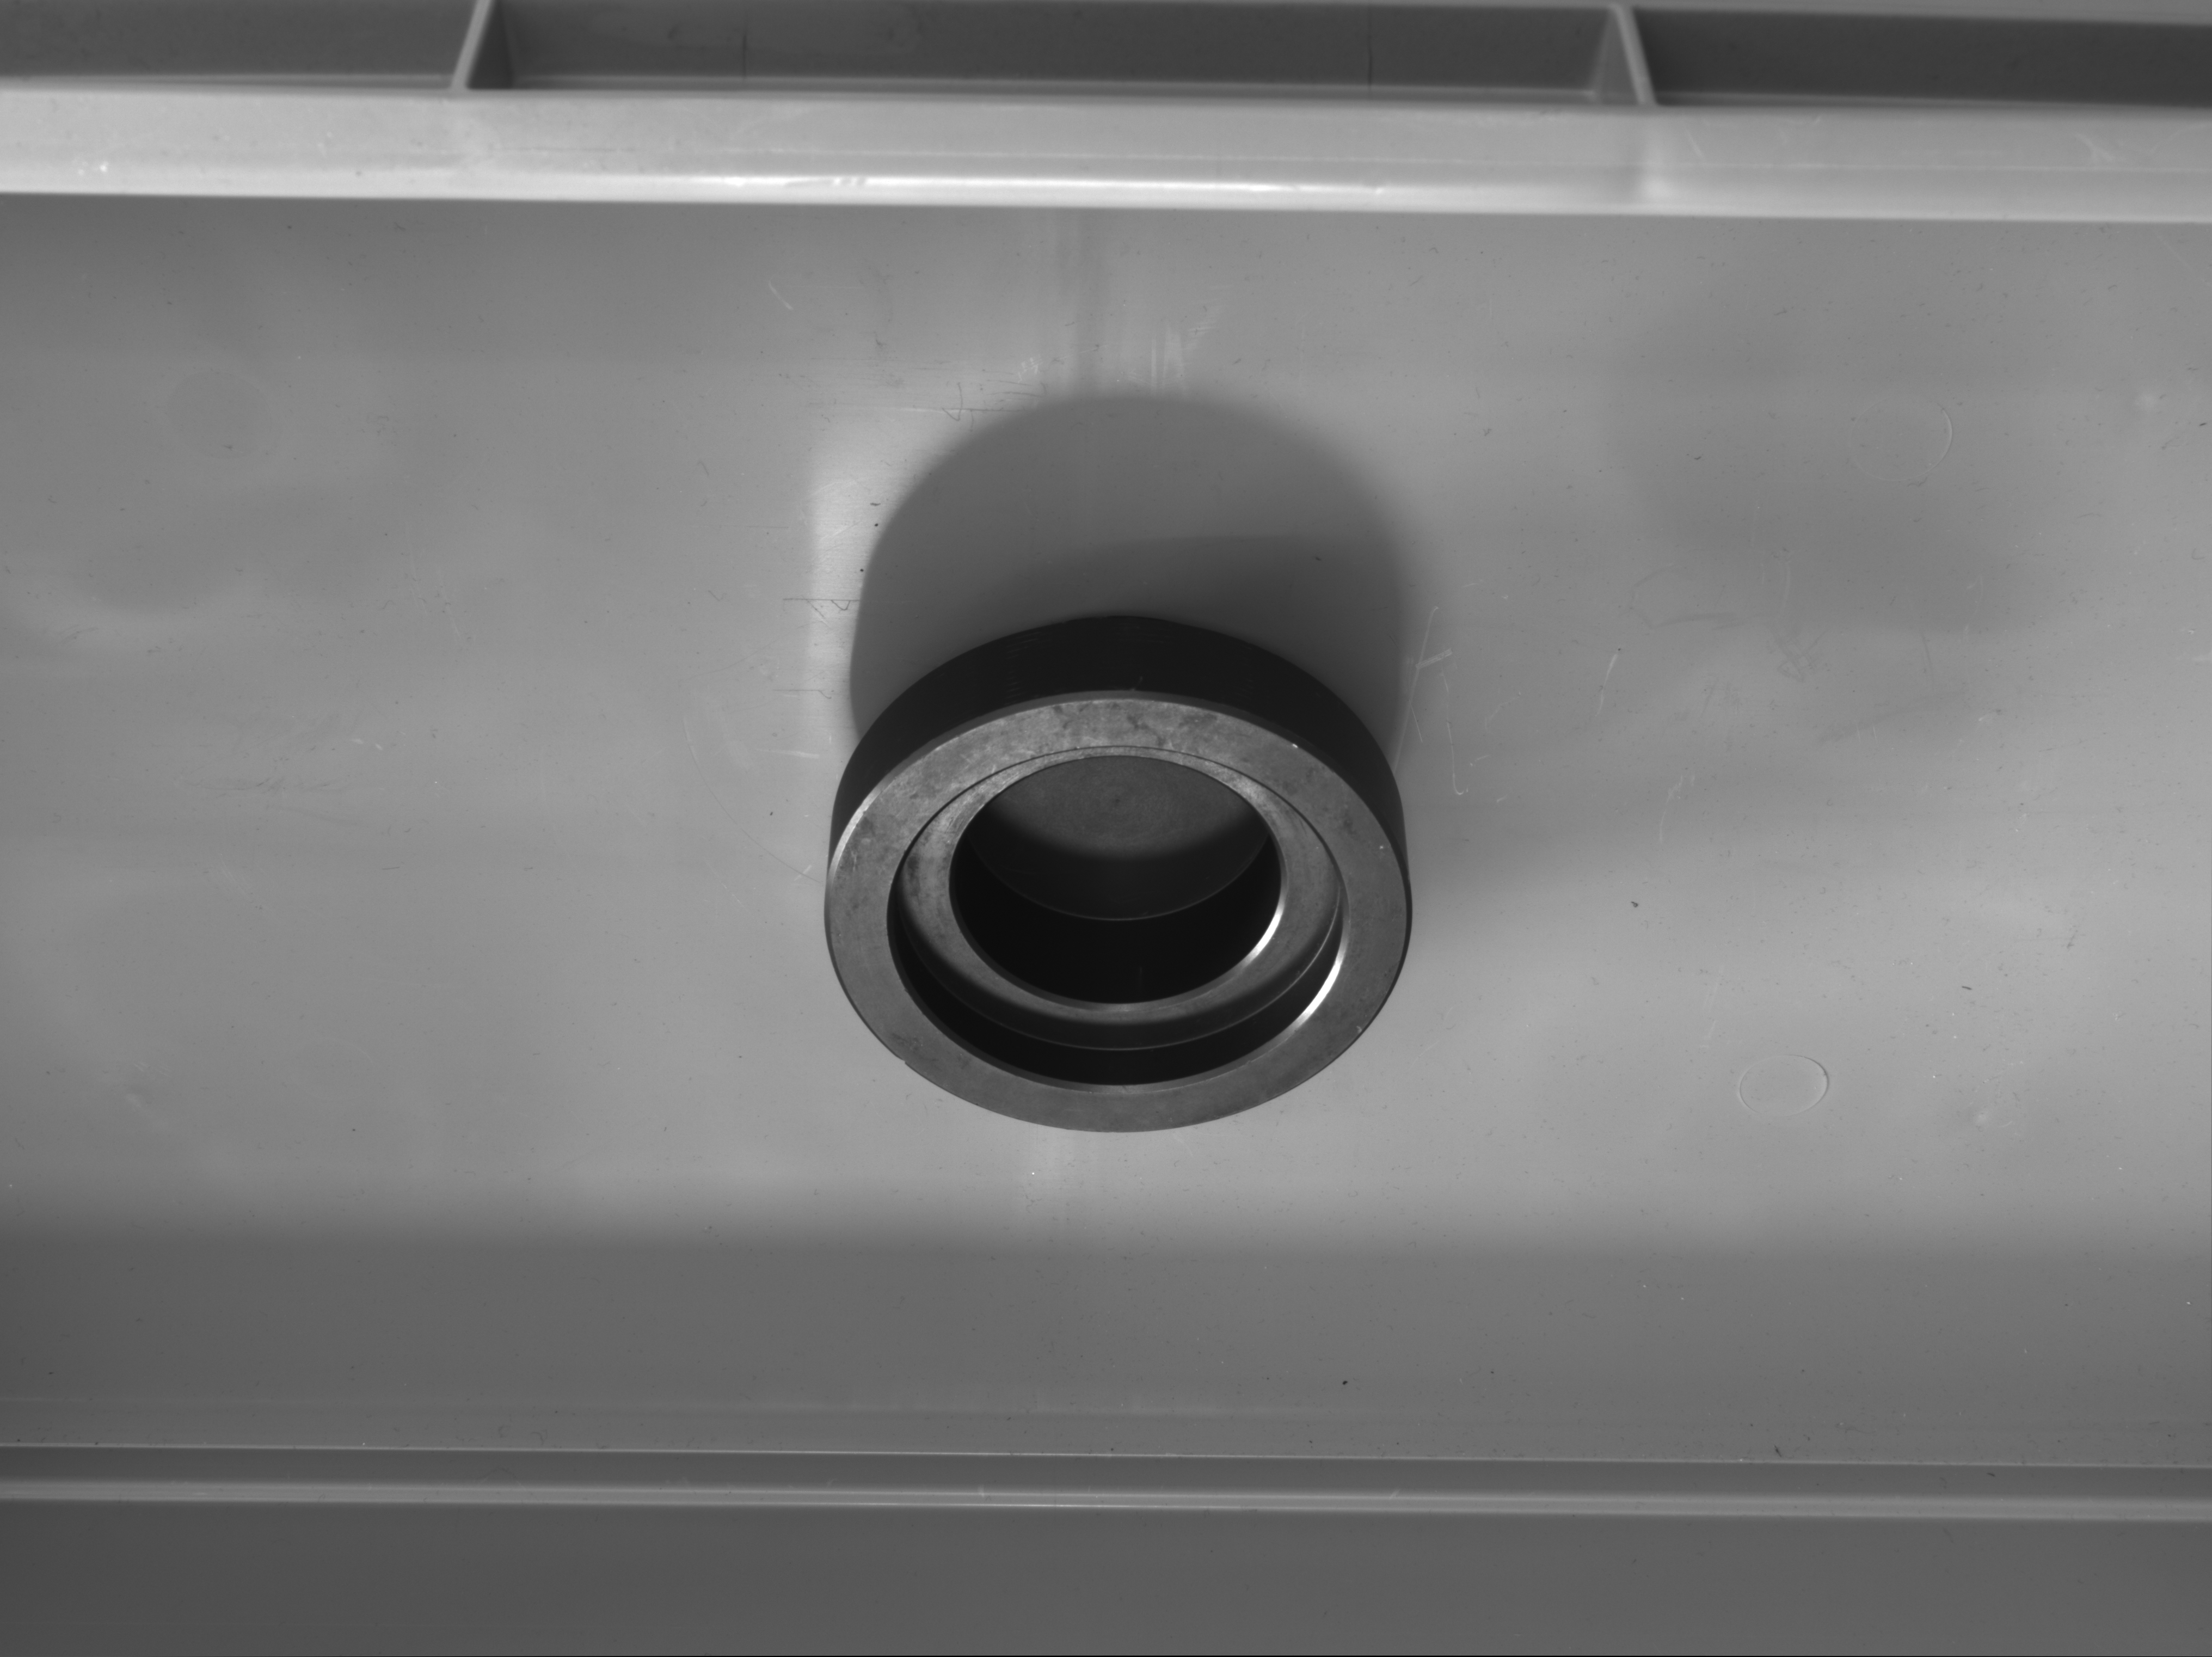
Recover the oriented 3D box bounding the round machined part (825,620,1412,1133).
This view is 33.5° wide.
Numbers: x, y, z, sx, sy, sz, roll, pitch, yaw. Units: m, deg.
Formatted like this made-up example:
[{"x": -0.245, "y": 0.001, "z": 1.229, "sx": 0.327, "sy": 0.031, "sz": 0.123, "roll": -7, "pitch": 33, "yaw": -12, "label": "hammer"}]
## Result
[{"x": 0.002, "y": 0.003, "z": 0.628, "sx": 0.098, "sy": 0.042, "sz": 0.098, "roll": 0, "pitch": 130, "yaw": 0, "label": "round machined part"}]
